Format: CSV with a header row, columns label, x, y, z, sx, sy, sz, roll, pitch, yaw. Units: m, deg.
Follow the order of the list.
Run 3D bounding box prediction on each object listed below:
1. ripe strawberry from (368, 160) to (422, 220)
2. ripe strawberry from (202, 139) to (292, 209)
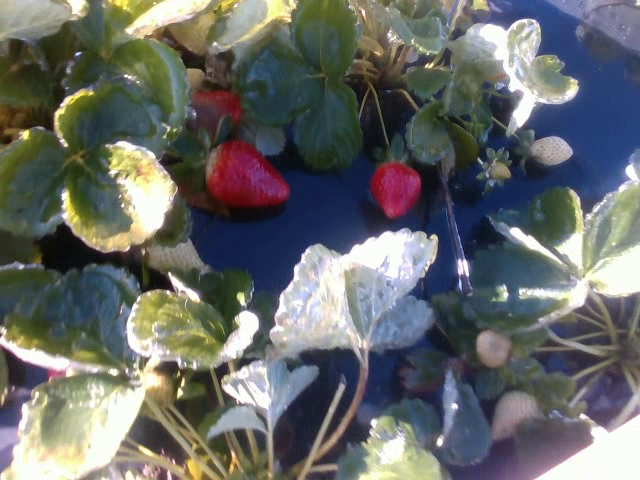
label,x,y,z,sx,sy,sz,roll,pitch,yaw
ripe strawberry,0.051,-0.032,0.407,0.039,0.047,0.040,18,-22,-20
ripe strawberry,-0.041,-0.039,0.386,0.056,0.044,0.040,29,-15,-17
